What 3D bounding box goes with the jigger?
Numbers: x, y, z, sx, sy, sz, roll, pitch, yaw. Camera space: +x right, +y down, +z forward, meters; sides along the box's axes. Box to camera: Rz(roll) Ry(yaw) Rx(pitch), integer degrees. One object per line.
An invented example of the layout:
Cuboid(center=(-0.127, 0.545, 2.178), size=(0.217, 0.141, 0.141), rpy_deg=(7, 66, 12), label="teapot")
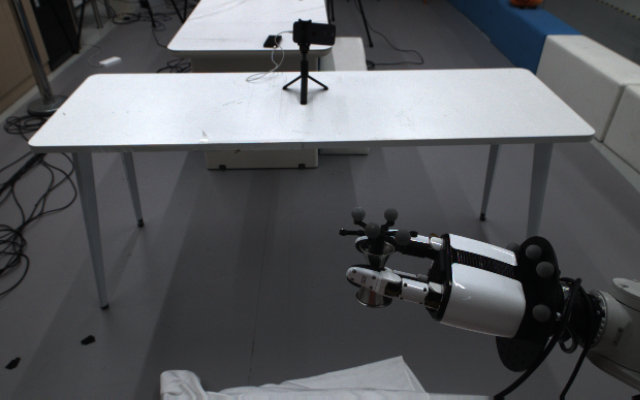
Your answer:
Cuboid(center=(0.065, 0.084, 0.575), size=(0.043, 0.071, 0.043), rpy_deg=(1, 20, 0), label="jigger")
